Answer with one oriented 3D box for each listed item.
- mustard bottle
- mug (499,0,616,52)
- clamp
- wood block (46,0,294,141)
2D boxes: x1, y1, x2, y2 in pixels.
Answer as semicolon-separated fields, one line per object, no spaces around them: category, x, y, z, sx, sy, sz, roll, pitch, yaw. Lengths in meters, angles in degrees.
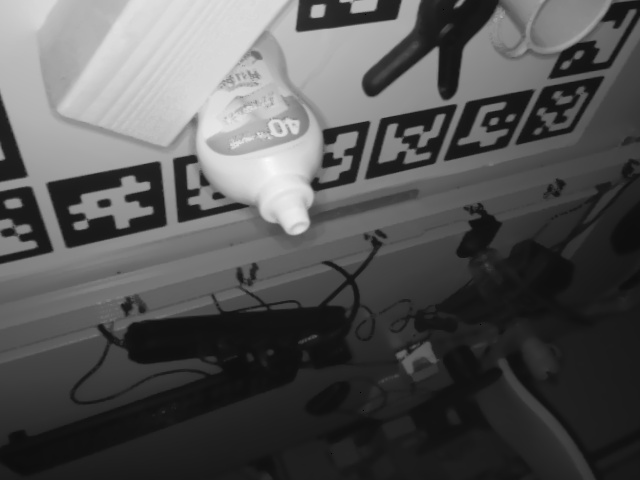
mustard bottle;-0.040;-0.081;0.536;0.097;0.191;0.058;-17;146;-15
mug;0.209;-0.233;0.648;0.095;0.081;0.115;2;136;-37
clamp;0.127;-0.193;0.653;0.124;0.036;0.162;1;137;-34
wood block;-0.087;-0.177;0.472;0.203;0.091;0.091;-42;147;26
